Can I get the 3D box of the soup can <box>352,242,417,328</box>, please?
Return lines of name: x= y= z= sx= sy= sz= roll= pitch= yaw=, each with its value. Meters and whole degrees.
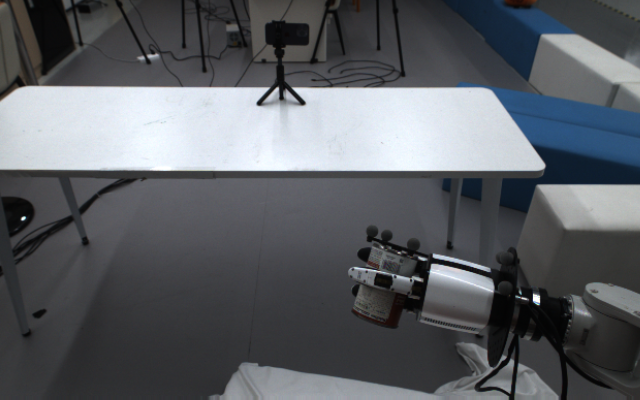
soup can: x=0.093 y=0.118 z=0.673 sx=0.067 sy=0.101 sz=0.067 roll=17 pitch=-1 yaw=0
